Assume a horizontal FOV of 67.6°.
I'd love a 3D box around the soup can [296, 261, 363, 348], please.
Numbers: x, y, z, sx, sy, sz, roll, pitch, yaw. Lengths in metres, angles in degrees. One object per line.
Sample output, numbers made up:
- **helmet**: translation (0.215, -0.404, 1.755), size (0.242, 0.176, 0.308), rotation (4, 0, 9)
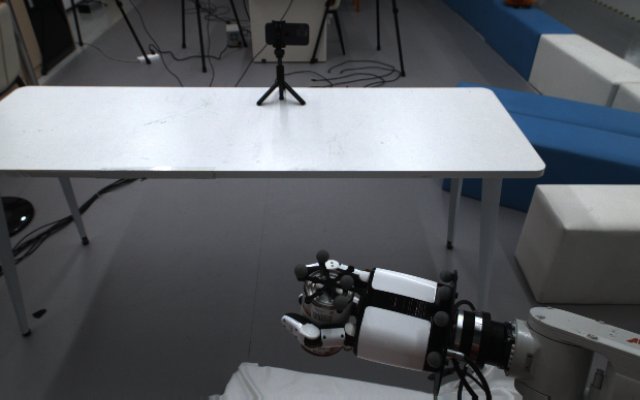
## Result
- **soup can**: translation (0.010, 0.151, 0.646), size (0.067, 0.101, 0.067), rotation (5, 36, -3)
